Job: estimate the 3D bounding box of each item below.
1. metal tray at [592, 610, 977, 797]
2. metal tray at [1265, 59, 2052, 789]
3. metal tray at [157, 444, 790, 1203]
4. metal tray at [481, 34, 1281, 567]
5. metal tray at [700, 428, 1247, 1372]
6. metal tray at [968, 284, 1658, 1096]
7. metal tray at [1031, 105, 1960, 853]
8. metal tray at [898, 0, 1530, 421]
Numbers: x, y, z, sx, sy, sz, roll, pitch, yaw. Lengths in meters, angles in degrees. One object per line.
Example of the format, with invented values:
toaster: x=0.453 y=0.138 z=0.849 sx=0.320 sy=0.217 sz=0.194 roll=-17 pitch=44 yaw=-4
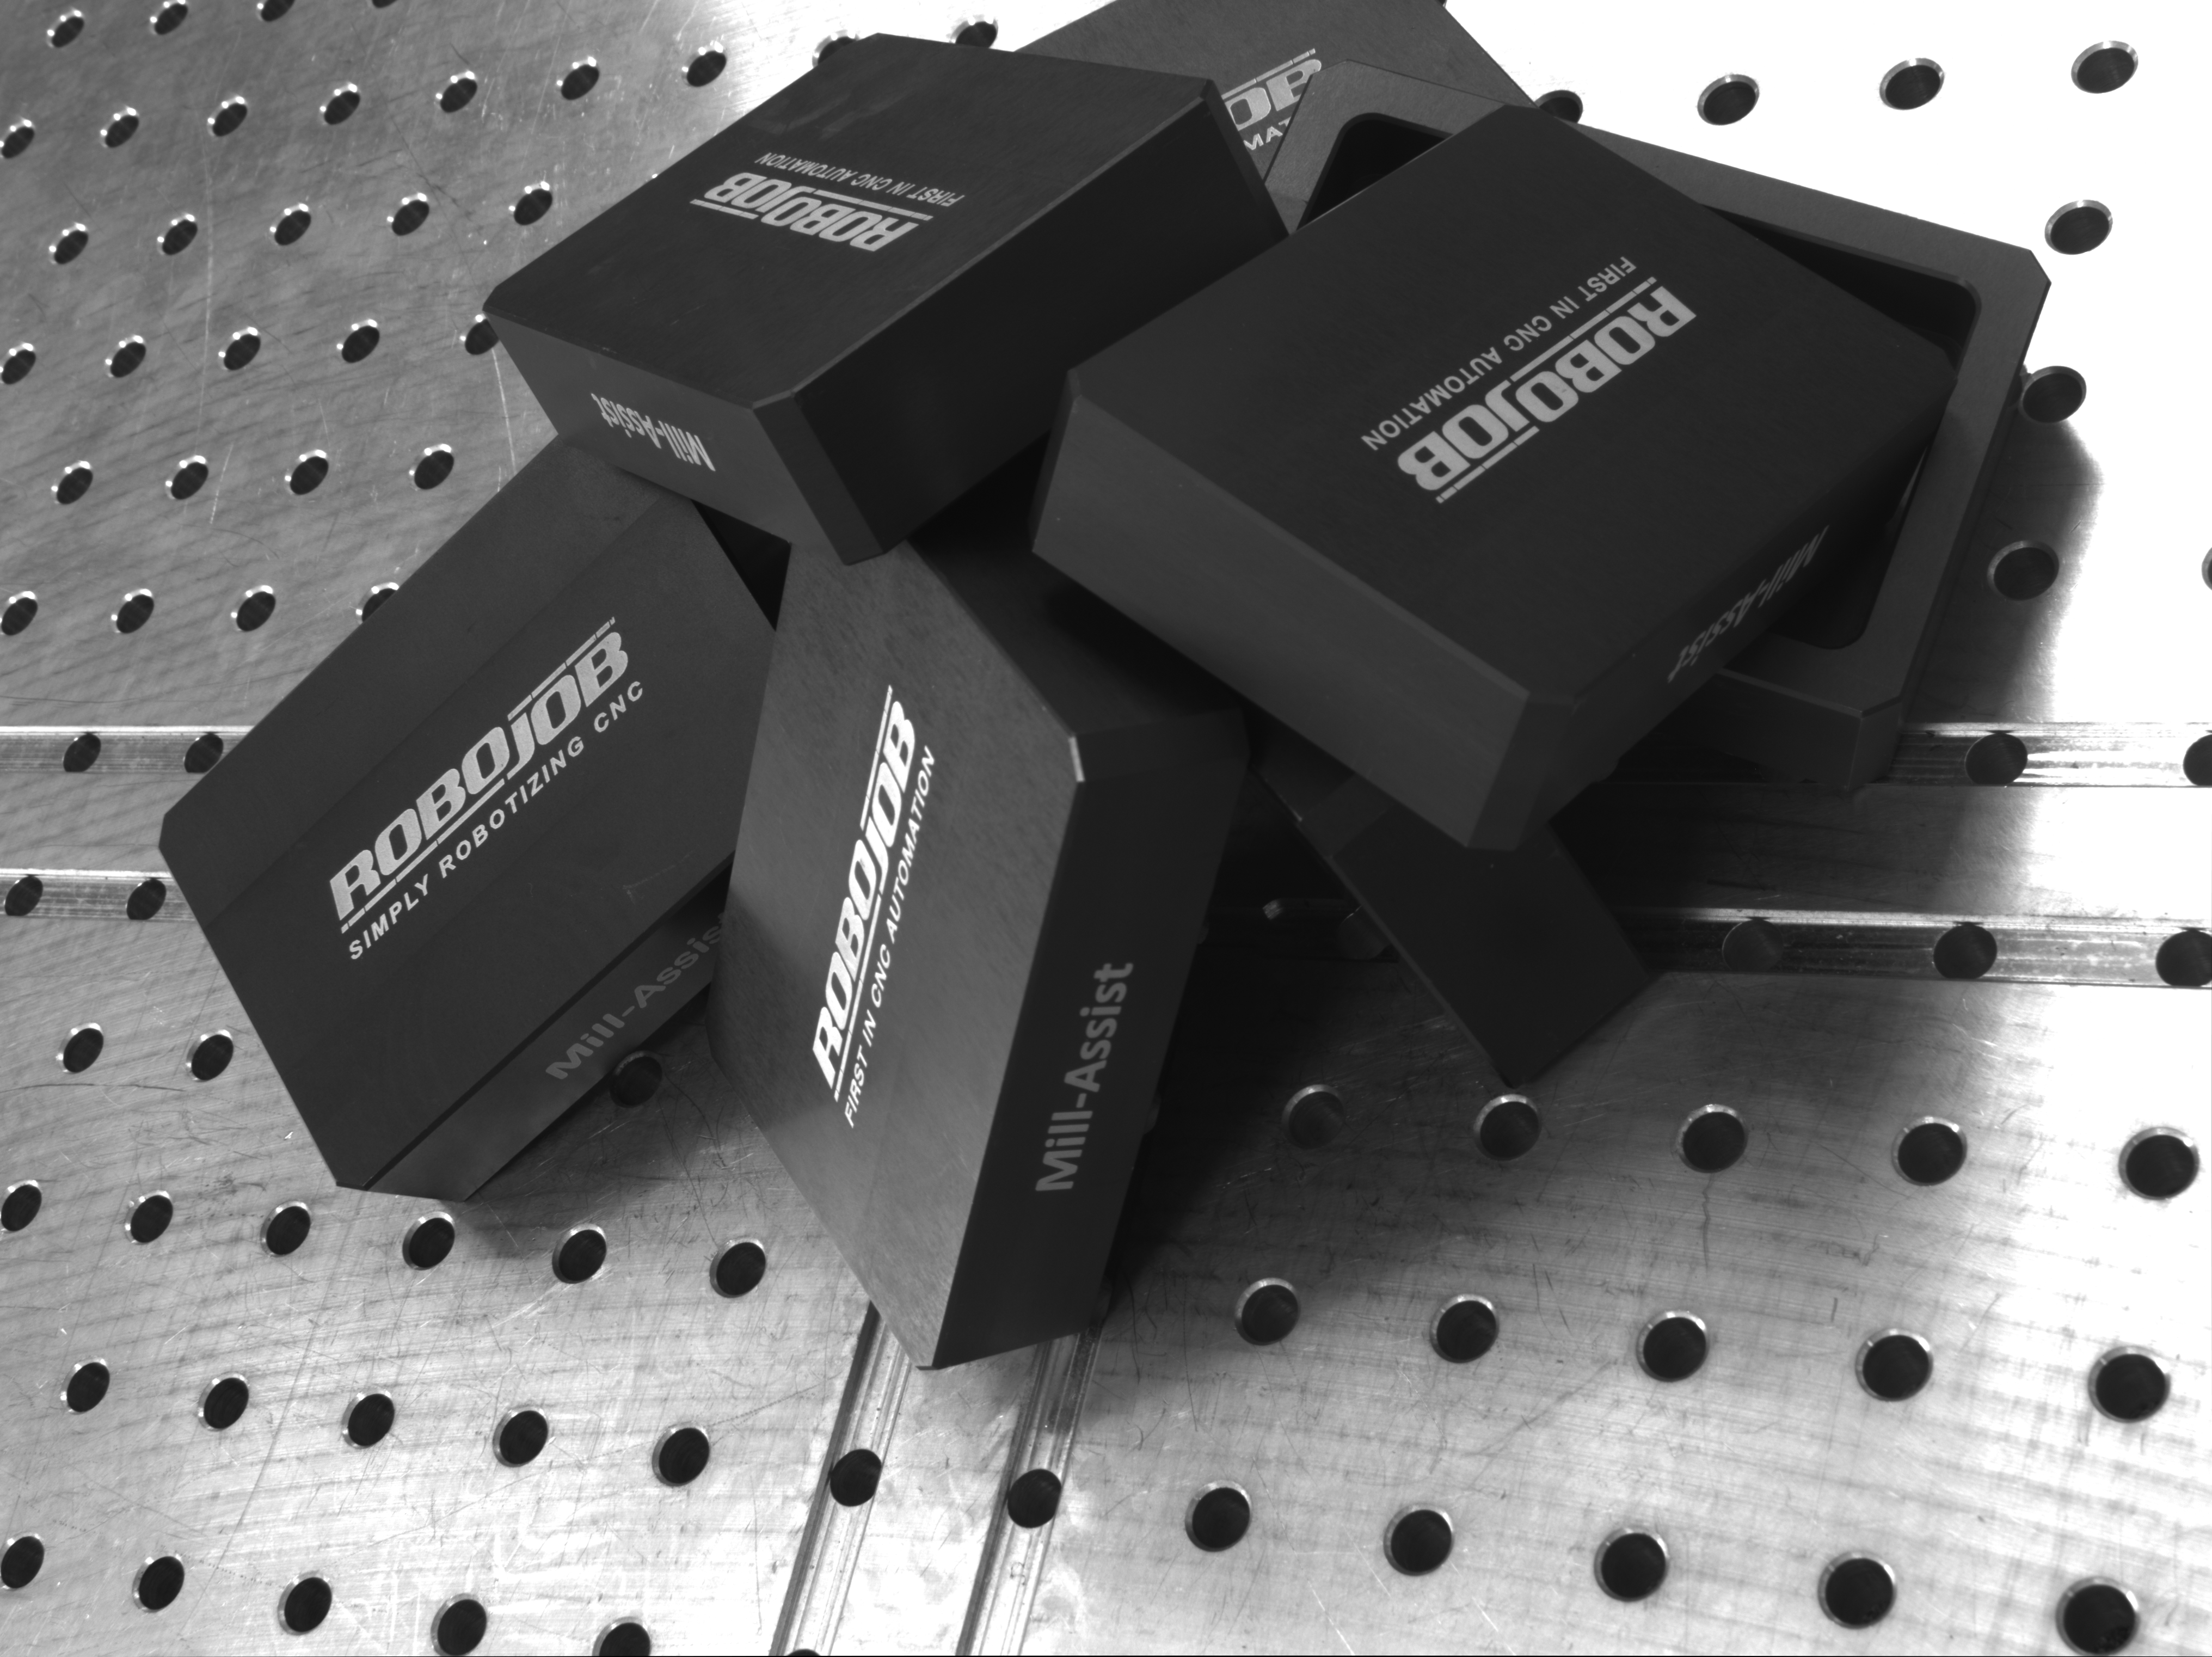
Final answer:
metal tray: x=-0.063 y=-0.046 z=0.708 sx=0.130 sy=0.030 sz=0.090 roll=-43 pitch=51 yaw=-2
metal tray: x=0.081 y=-0.070 z=0.616 sx=0.130 sy=0.030 sz=0.090 roll=19 pitch=70 yaw=14
metal tray: x=-0.106 y=-0.004 z=0.676 sx=0.130 sy=0.030 sz=0.090 roll=-41 pitch=66 yaw=15
metal tray: x=-0.040 y=-0.092 z=0.610 sx=0.090 sy=0.030 sz=0.130 roll=-38 pitch=29 yaw=-15
metal tray: x=-0.026 y=0.012 z=0.595 sx=0.030 sy=0.130 sz=0.090 roll=-11 pitch=43 yaw=-30
metal tray: x=0.031 y=-0.024 z=0.606 sx=0.030 sy=0.090 sz=0.130 roll=-39 pitch=50 yaw=3
metal tray: x=0.062 y=-0.058 z=0.566 sx=0.090 sy=0.030 sz=0.130 roll=35 pitch=45 yaw=18
metal tray: x=0.010 y=-0.113 z=0.685 sx=0.130 sy=0.030 sz=0.090 roll=-28 pitch=52 yaw=-8
